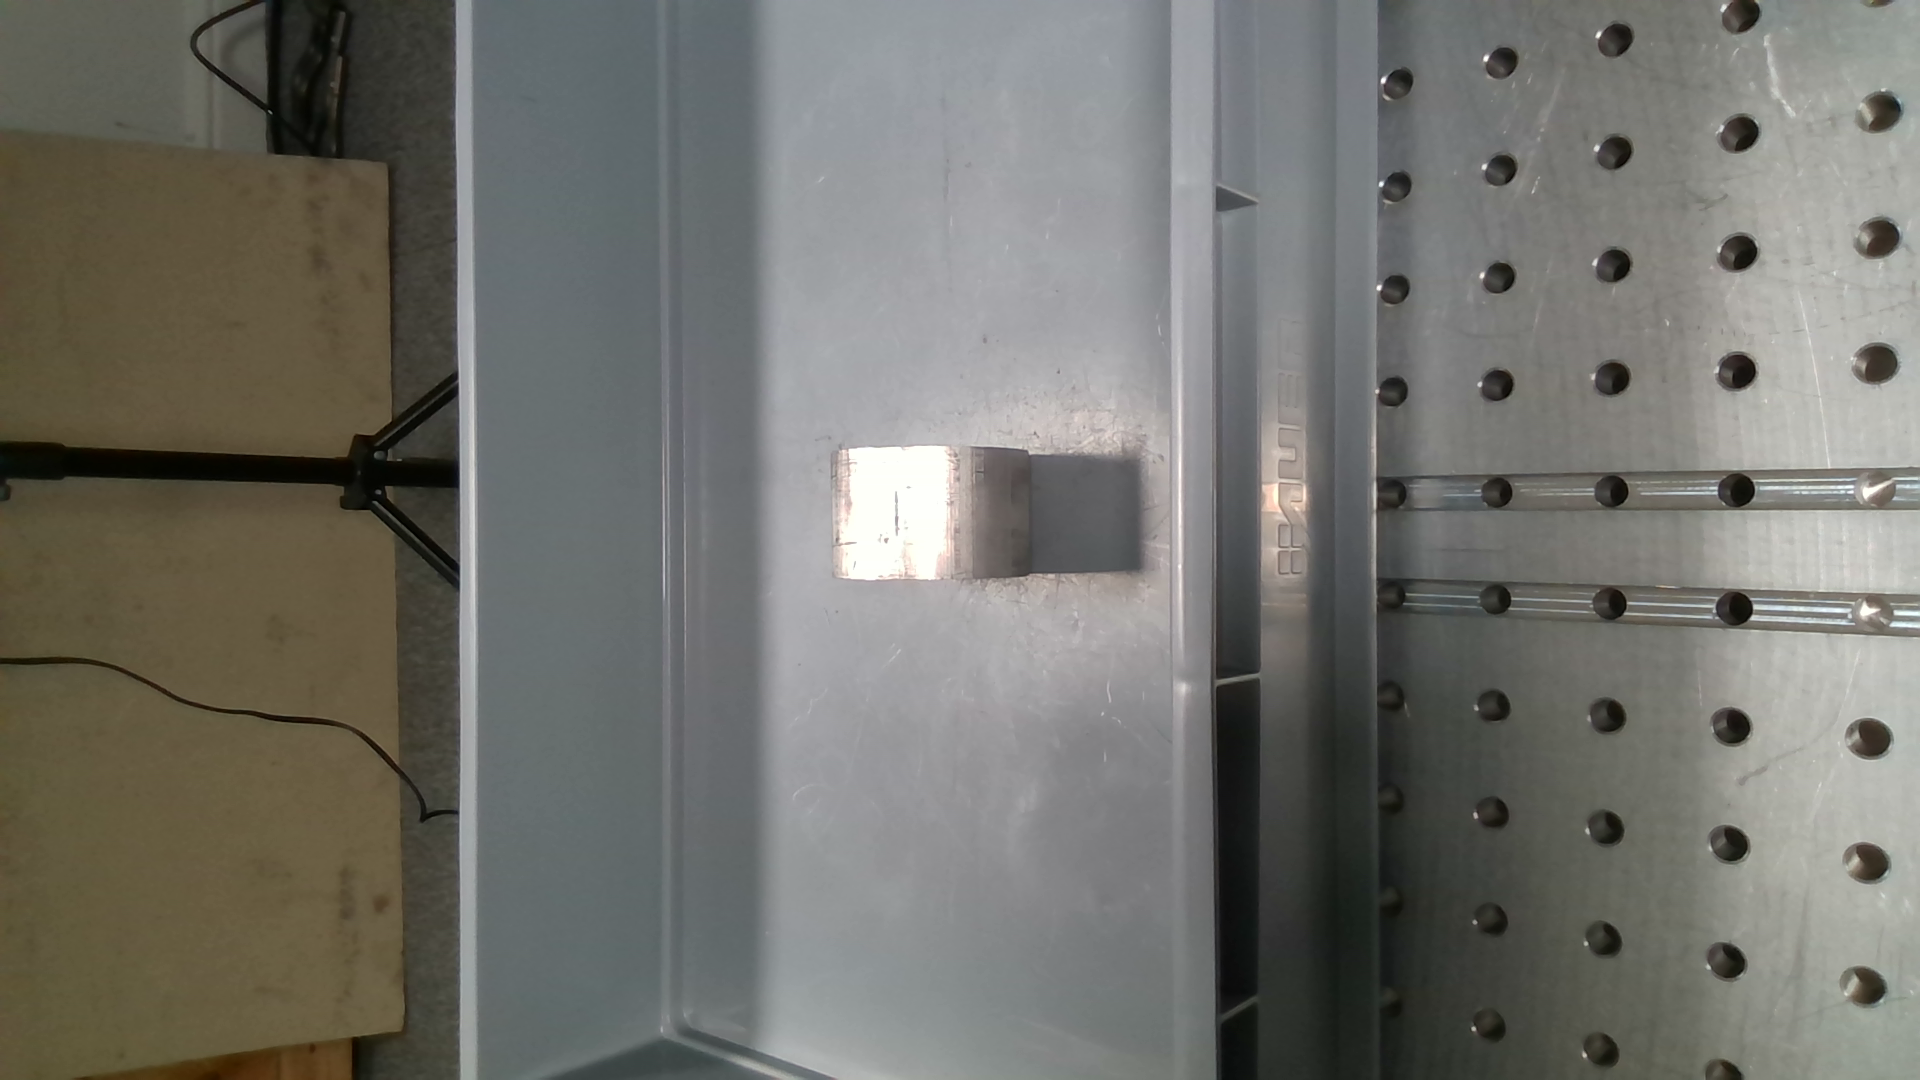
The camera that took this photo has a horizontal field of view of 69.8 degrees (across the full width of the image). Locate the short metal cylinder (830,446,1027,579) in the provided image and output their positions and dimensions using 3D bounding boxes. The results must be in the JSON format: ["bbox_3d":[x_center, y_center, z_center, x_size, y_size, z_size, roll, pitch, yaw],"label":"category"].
[{"bbox_3d":[-0.013,-0.010,0.554,0.080,0.080,0.050,0,90,40],"label":"short metal cylinder"}]
